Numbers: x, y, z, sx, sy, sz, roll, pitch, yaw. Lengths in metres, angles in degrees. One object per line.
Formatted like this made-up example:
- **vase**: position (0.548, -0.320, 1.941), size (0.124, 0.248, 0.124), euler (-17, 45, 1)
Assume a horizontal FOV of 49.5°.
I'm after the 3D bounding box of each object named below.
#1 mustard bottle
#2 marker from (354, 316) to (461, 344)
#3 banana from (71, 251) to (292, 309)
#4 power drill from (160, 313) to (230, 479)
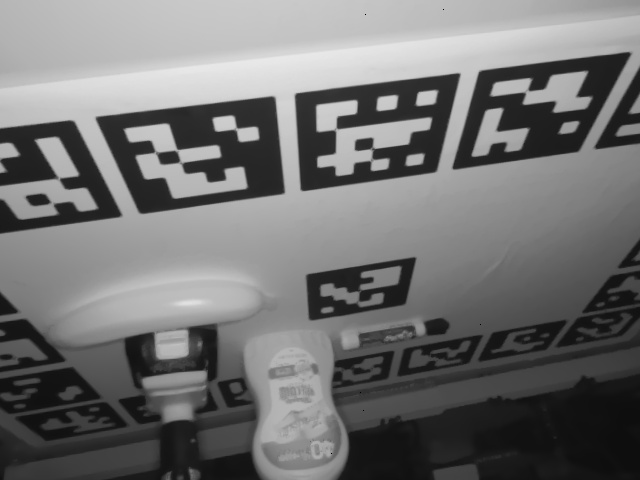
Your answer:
- **mustard bottle**: position (-0.013, 0.179, 0.704), size (0.097, 0.192, 0.057), euler (1, 142, -14)
- **marker**: position (0.099, 0.101, 0.778), size (0.122, 0.020, 0.019), euler (-6, 142, -9)
- **banana**: position (-0.119, 0.037, 0.618), size (0.199, 0.039, 0.073), euler (-4, 141, -14)
- **power drill**: position (-0.115, 0.166, 0.629), size (0.058, 0.188, 0.182), euler (3, 144, -15)
